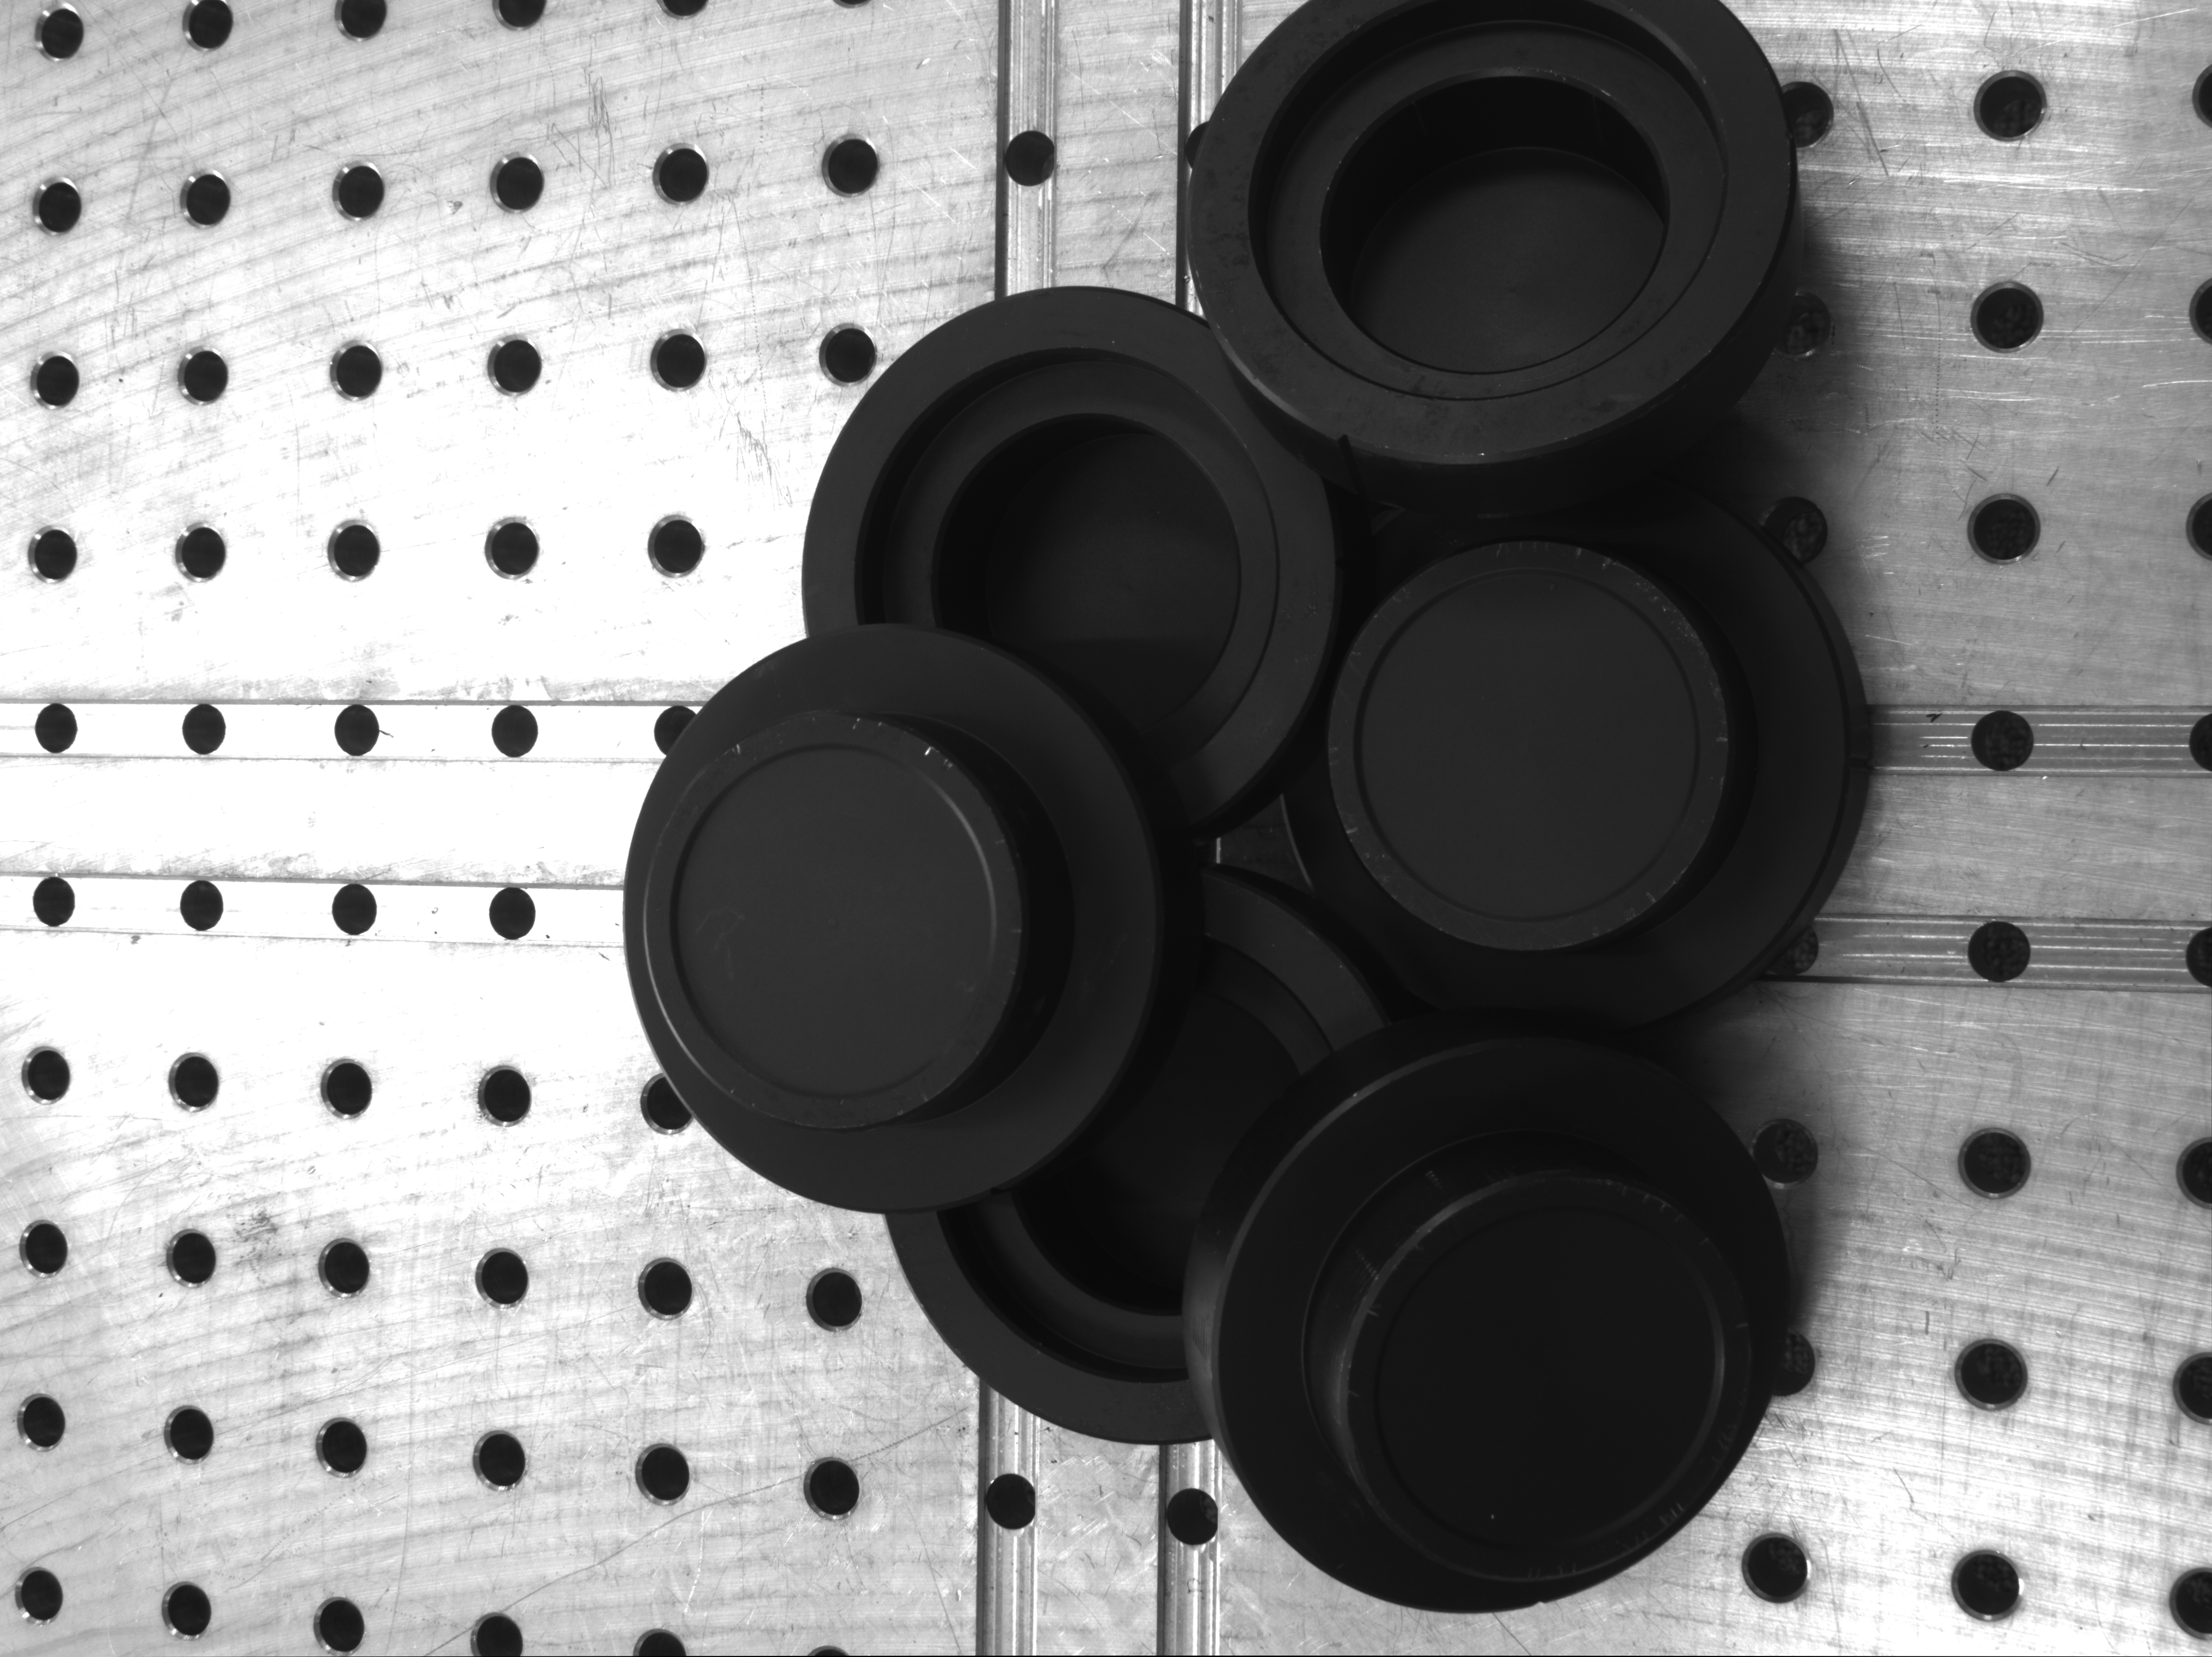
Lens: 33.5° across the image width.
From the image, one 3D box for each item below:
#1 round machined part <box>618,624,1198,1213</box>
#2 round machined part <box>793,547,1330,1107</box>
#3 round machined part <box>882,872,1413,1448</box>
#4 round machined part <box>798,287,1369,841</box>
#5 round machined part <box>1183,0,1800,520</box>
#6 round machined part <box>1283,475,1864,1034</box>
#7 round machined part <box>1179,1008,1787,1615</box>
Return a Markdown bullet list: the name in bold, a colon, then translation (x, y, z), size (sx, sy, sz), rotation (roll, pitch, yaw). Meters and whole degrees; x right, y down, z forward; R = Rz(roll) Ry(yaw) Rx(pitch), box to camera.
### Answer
- **round machined part**: translation (-0.038, 0.015, 0.609), size (0.098, 0.042, 0.098), rotation (0, 90, 20)
- **round machined part**: translation (-0.007, 0.001, 0.643), size (0.098, 0.042, 0.098), rotation (0, 90, 20)
- **round machined part**: translation (0.013, 0.055, 0.636), size (0.098, 0.042, 0.098), rotation (0, 90, 20)
- **round machined part**: translation (-0.001, -0.043, 0.641), size (0.098, 0.042, 0.098), rotation (0, 90, 20)
- **round machined part**: translation (0.065, -0.095, 0.605), size (0.098, 0.042, 0.098), rotation (-5, 68, 12)
- **round machined part**: translation (0.074, -0.013, 0.613), size (0.098, 0.042, 0.098), rotation (0, 90, 20)
- **round machined part**: translation (0.064, 0.081, 0.591), size (0.098, 0.042, 0.098), rotation (-3, 103, -12)
